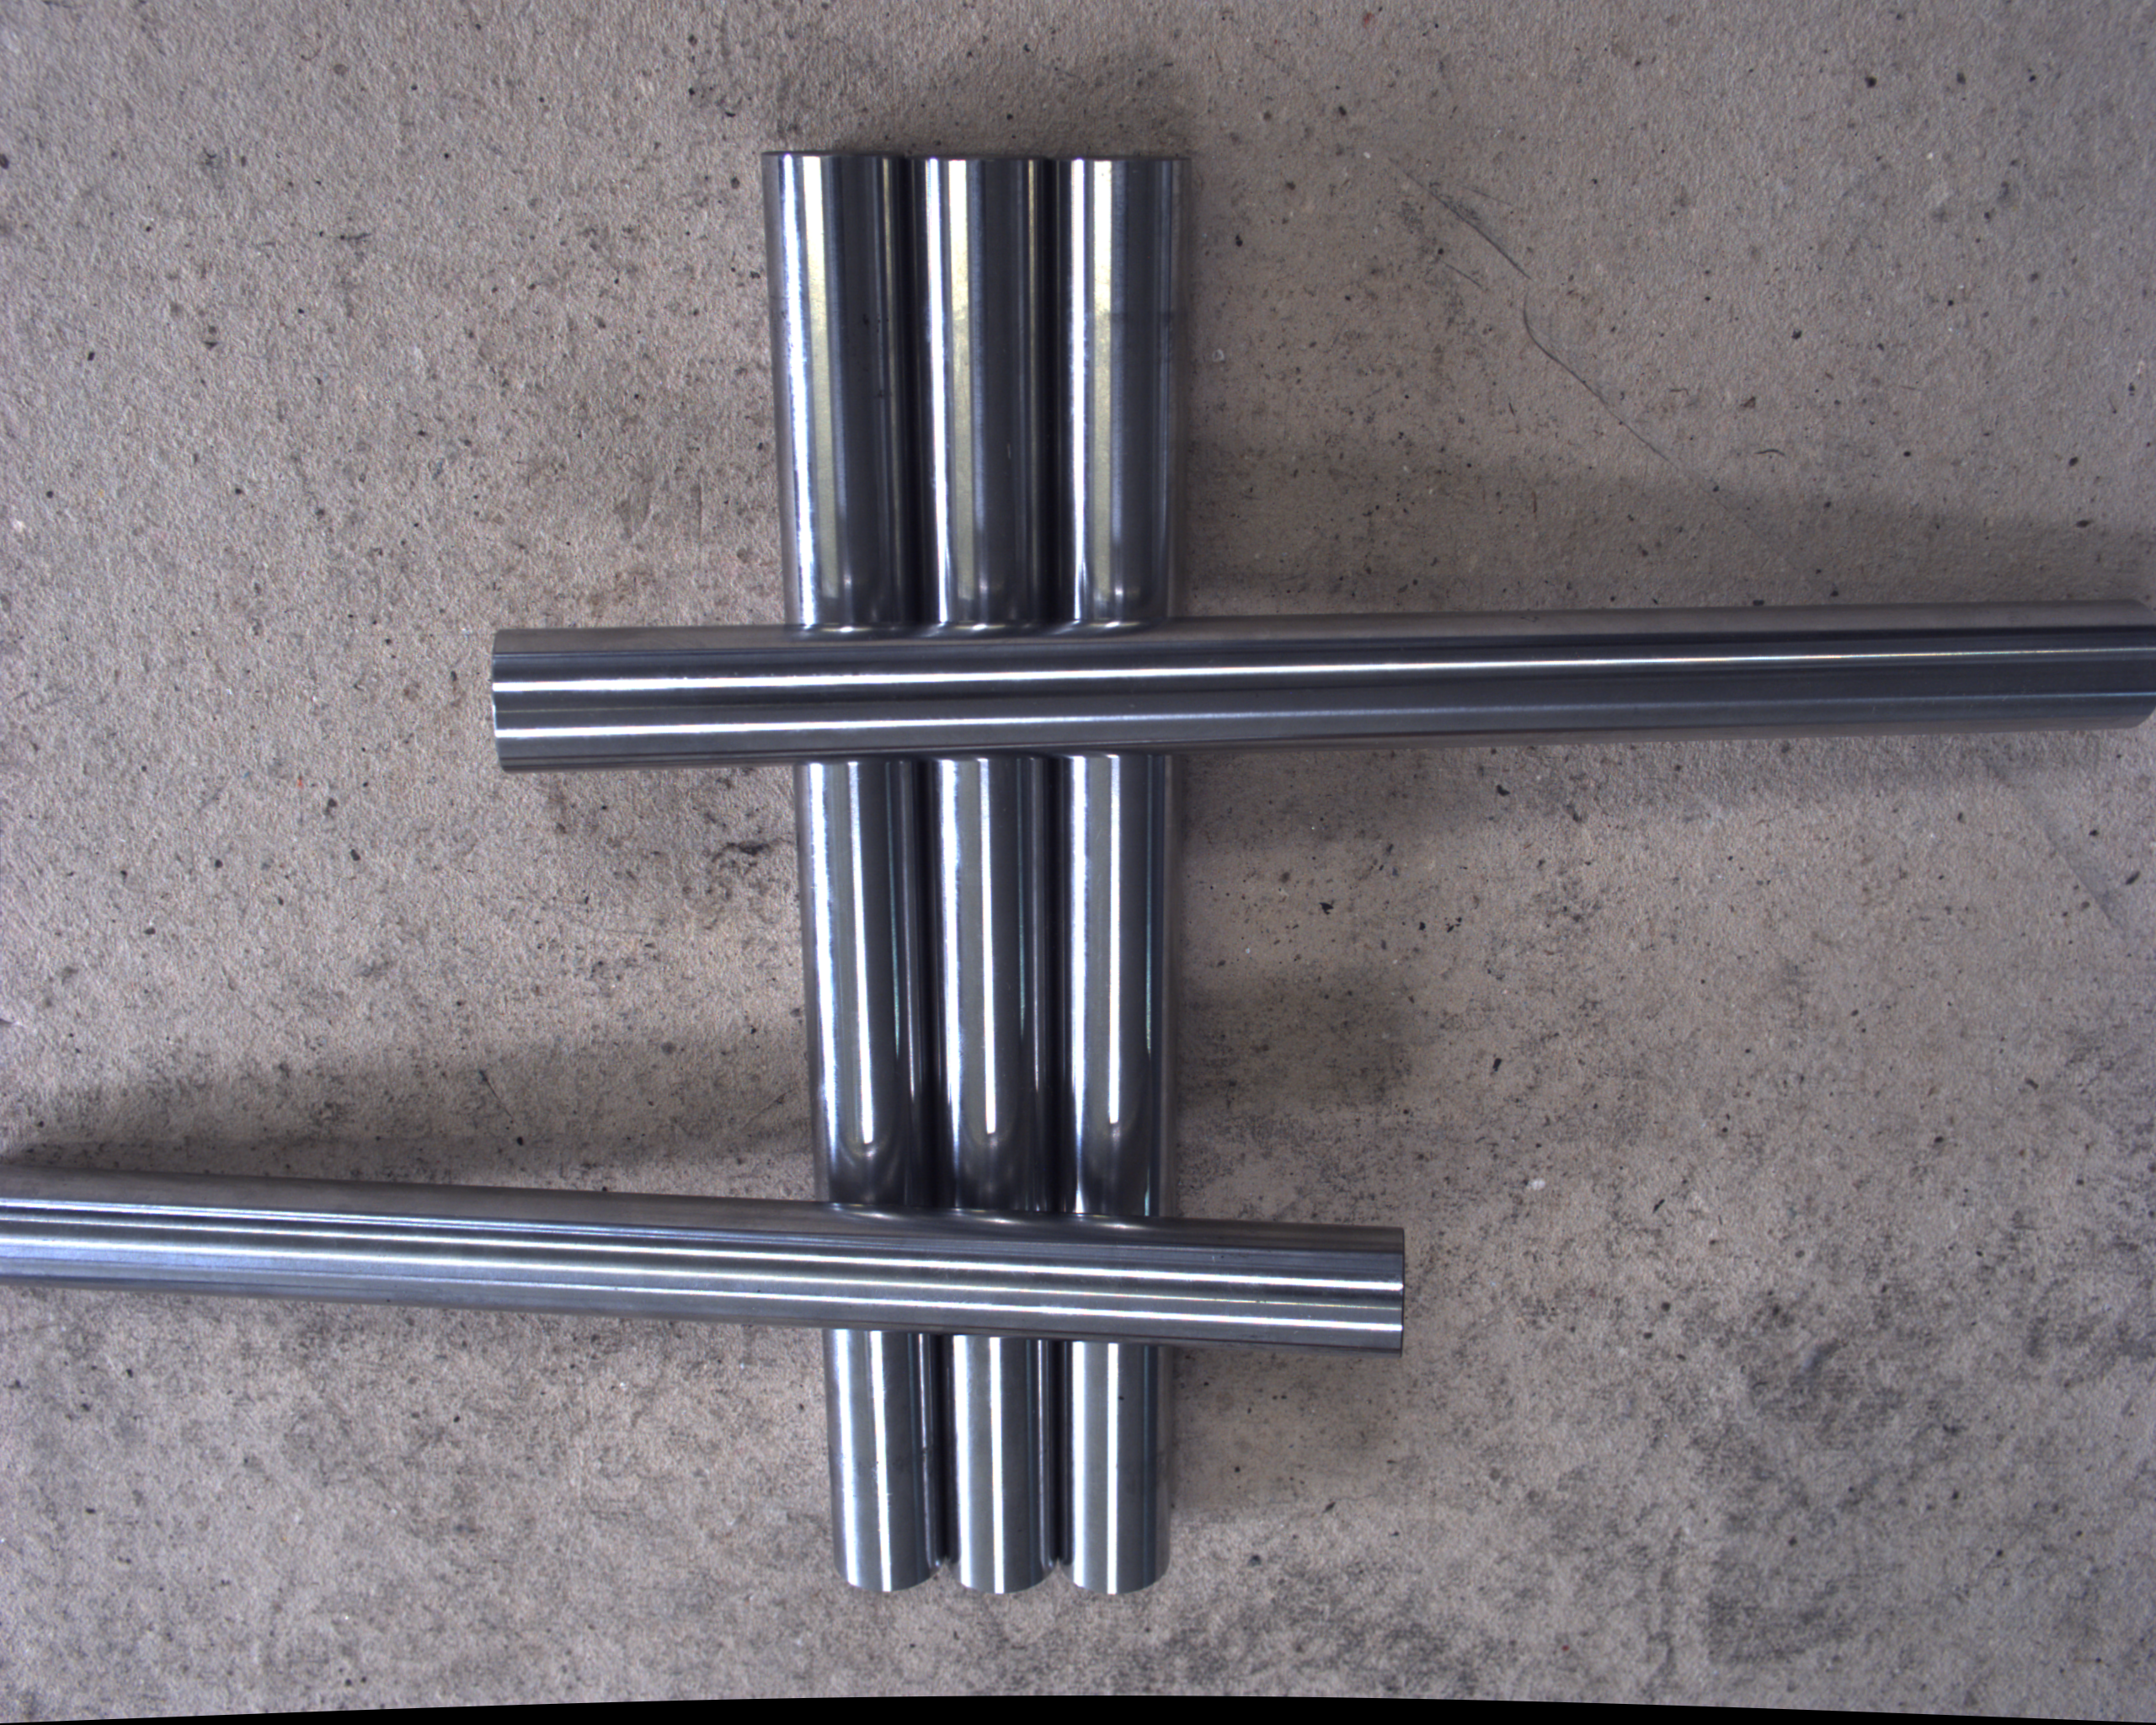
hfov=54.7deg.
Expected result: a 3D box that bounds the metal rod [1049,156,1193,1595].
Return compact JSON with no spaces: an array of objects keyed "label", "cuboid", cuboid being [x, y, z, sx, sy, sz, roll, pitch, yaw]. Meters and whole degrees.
[{"label":"metal rod","cuboid":[0.008,0.016,0.416,0.025,0.025,0.298,0,110,0]}]

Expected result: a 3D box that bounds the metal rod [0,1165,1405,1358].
[{"label":"metal rod","cuboid":[-0.087,0.079,0.419,0.302,0.025,0.025,1,110,7]}]

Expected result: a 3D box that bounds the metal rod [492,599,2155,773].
[{"label":"metal rod","cuboid":[0.051,-0.033,0.379,0.302,0.025,0.025,-2,110,-8]}]

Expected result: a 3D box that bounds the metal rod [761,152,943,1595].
[{"label":"metal rod","cuboid":[-0.043,0.016,0.416,0.025,0.025,0.298,0,110,0]}]

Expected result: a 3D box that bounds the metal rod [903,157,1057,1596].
[{"label":"metal rod","cuboid":[-0.018,0.016,0.416,0.025,0.025,0.298,0,110,0]}]
